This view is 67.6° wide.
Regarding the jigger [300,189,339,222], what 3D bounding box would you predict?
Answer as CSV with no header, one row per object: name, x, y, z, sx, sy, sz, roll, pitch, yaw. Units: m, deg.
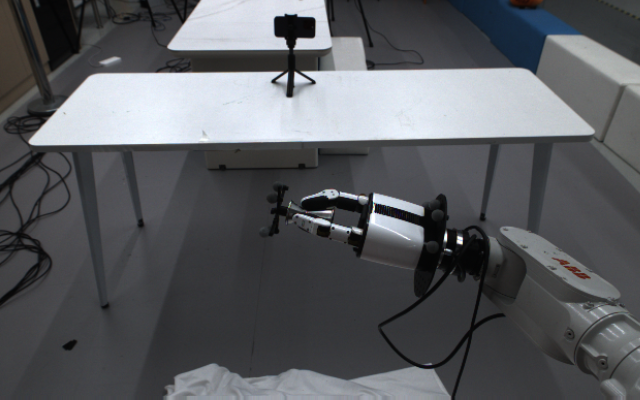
jigger,-0.008,0.023,0.736,0.071,0.043,0.043,12,36,5
